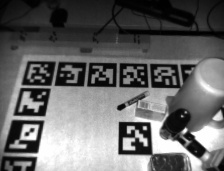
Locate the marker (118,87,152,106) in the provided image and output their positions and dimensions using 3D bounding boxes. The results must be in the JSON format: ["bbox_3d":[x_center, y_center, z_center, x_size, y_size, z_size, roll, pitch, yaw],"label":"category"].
[{"bbox_3d":[0.077,0.037,0.716,0.121,0.020,0.019,-24,66,-11],"label":"marker"}]

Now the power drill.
[{"bbox_3d":[0.224,0.137,0.579,0.186,0.185,0.057,34,71,10],"label":"power drill"}]

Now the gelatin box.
[{"bbox_3d":[0.130,0.074,0.671,0.089,0.073,0.030,10,68,3],"label":"gelatin box"}]

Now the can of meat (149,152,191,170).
[{"bbox_3d":[0.156,0.216,0.591,0.102,0.084,0.057,-1,61,-1],"label":"can of meat"}]

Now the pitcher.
[{"bbox_3d":[0.273,0.035,0.605,0.187,0.244,0.133,28,70,21],"label":"pitcher"}]
